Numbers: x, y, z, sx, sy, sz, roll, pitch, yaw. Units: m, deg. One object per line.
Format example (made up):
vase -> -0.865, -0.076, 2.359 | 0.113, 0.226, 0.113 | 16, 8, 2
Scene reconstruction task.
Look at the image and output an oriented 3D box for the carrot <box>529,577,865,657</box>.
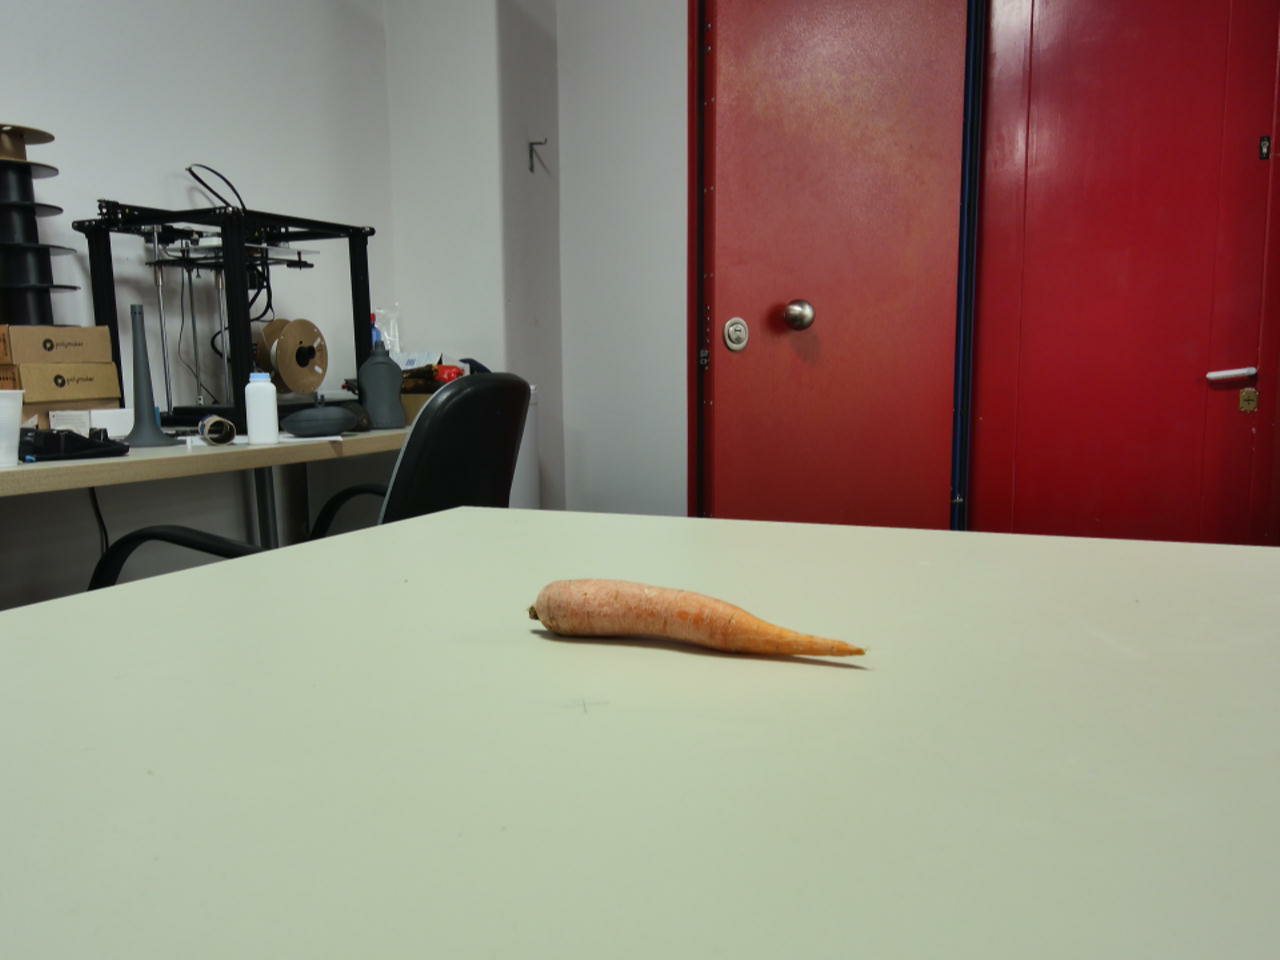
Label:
carrot -> 0.021, 0.063, 0.455 | 0.163, 0.029, 0.031 | 2, 4, 25
